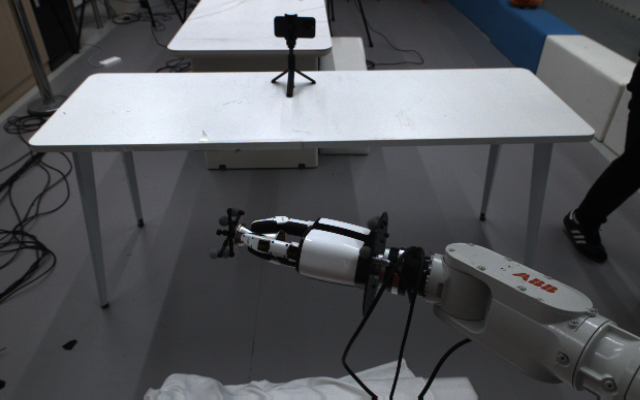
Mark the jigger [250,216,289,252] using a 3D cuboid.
[{"bbox_3d":[-0.089,0.058,0.755,0.071,0.043,0.043,11,36,16],"label":"jigger"}]
